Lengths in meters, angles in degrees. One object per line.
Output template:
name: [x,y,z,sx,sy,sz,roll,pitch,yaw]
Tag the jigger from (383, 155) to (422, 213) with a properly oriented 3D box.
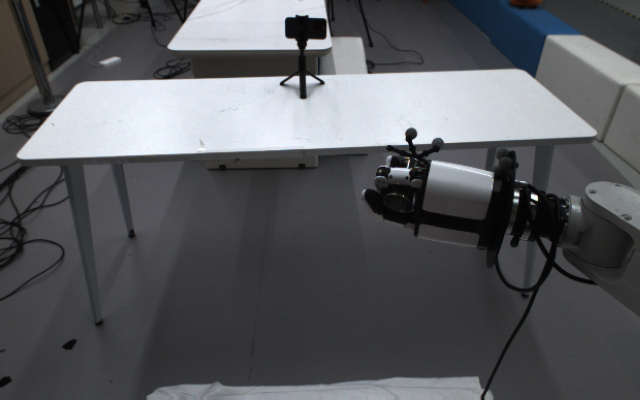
jigger: [0.121,-0.025,0.679,0.043,0.043,0.071,15,58,19]
